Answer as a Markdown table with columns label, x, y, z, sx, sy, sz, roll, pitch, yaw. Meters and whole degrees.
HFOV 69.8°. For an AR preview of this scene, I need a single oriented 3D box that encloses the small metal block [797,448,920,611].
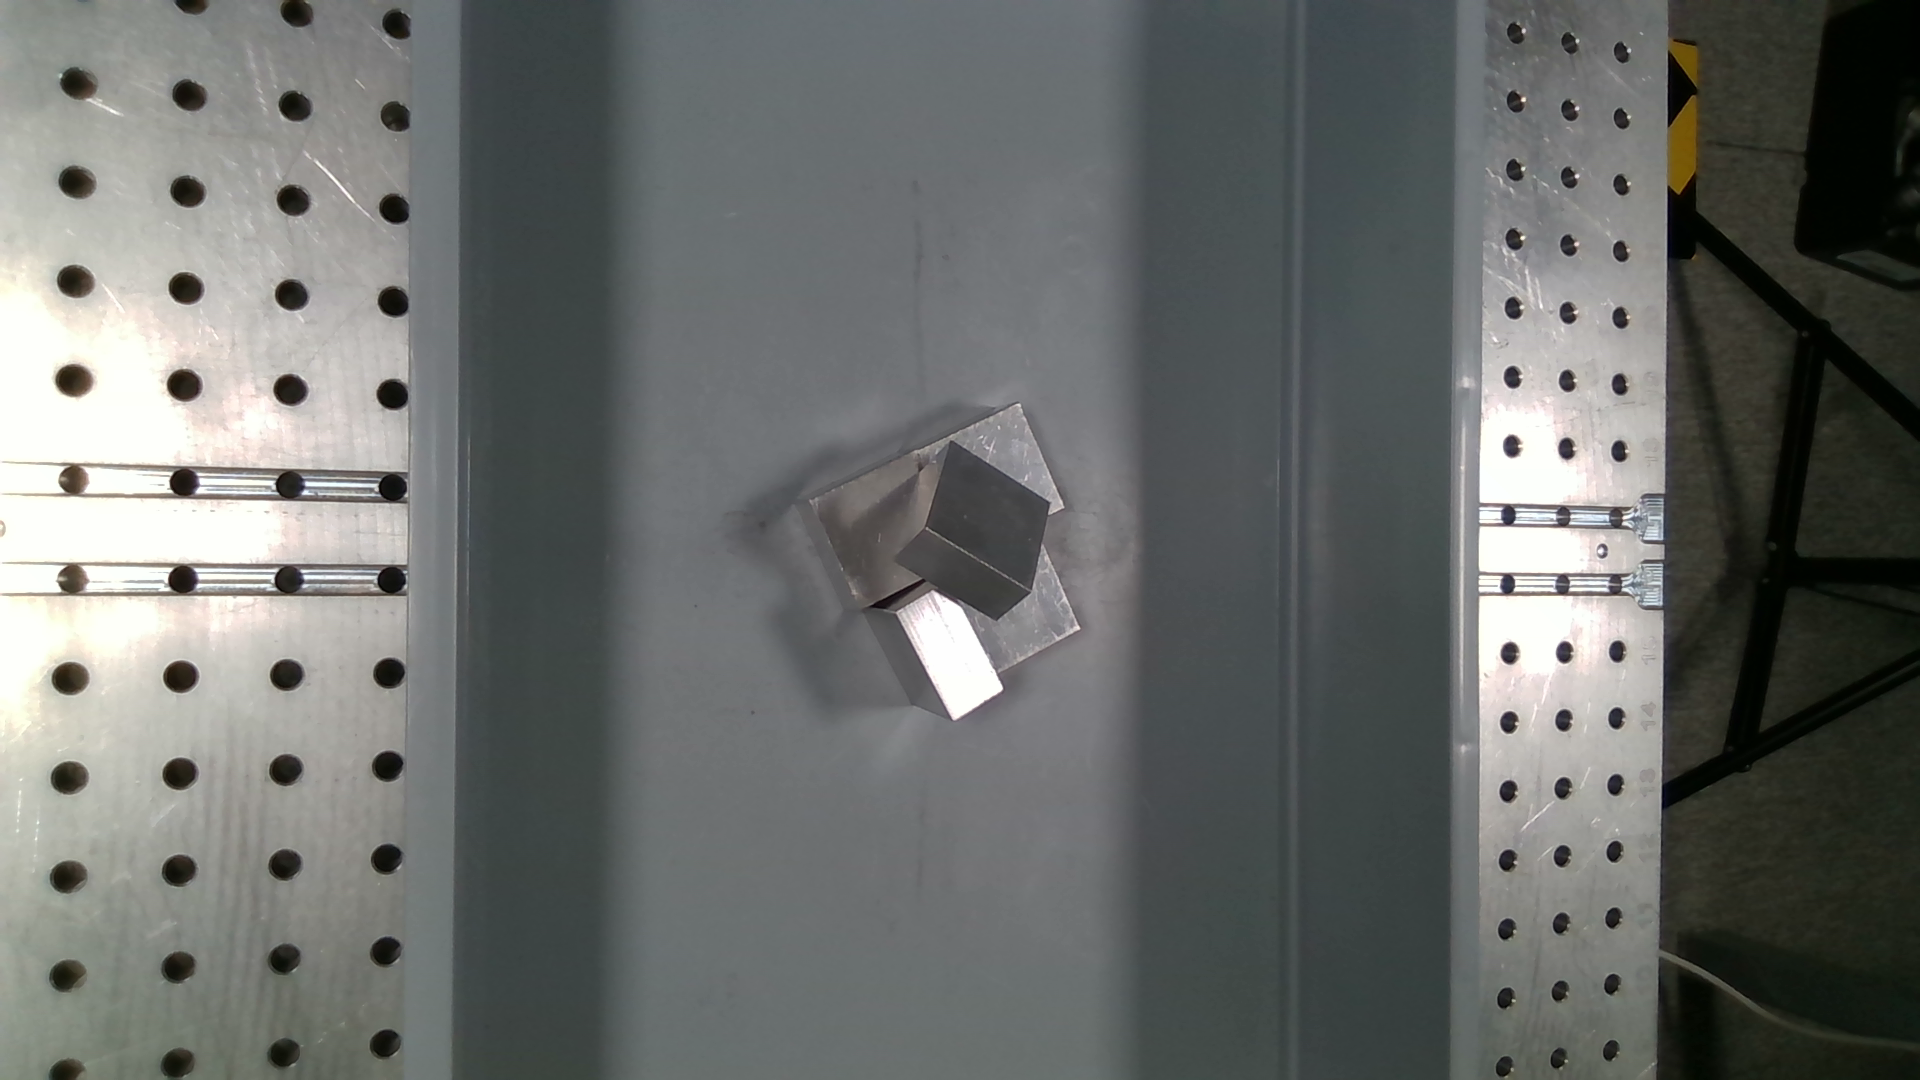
| label | x | y | z | sx | sy | sz | roll | pitch | yaw |
| --- | --- | --- | --- | --- | --- | --- | --- | --- | --- |
| small metal block | -0.034 | -0.005 | 0.572 | 0.050 | 0.025 | 0.050 | -27 | 99 | -18 |

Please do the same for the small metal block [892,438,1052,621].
| label | x | y | z | sx | sy | sz | roll | pitch | yaw |
| --- | --- | --- | --- | --- | --- | --- | --- | --- | --- |
| small metal block | 0.006 | -0.004 | 0.547 | 0.050 | 0.025 | 0.050 | 32 | 45 | -18 |

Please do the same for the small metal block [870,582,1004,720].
| label | x | y | z | sx | sy | sz | roll | pitch | yaw |
| --- | --- | --- | --- | --- | --- | --- | --- | --- | --- |
| small metal block | -0.013 | 0.043 | 0.567 | 0.025 | 0.050 | 0.050 | -30 | 101 | -18 |

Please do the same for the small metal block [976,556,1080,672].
| label | x | y | z | sx | sy | sz | roll | pitch | yaw |
| --- | --- | --- | --- | --- | --- | --- | --- | --- | --- |
| small metal block | 0.016 | 0.026 | 0.591 | 0.050 | 0.025 | 0.050 | -27 | 99 | -18 |

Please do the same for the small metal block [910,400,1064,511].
| label | x | y | z | sx | sy | sz | roll | pitch | yaw |
| --- | --- | --- | --- | --- | --- | --- | --- | --- | --- |
| small metal block | 0.009 | -0.026 | 0.588 | 0.050 | 0.025 | 0.050 | -27 | 99 | -18 |
